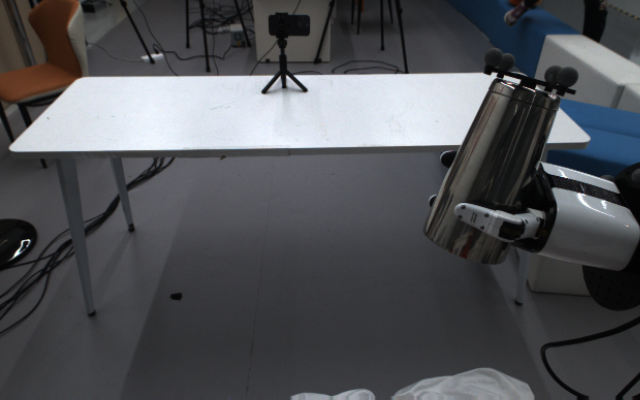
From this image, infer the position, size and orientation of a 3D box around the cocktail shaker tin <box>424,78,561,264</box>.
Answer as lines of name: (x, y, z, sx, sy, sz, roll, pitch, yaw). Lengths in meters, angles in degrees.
cocktail shaker tin: (0.180, -0.031, 0.499, 0.093, 0.170, 0.093, 14, 20, -5)
